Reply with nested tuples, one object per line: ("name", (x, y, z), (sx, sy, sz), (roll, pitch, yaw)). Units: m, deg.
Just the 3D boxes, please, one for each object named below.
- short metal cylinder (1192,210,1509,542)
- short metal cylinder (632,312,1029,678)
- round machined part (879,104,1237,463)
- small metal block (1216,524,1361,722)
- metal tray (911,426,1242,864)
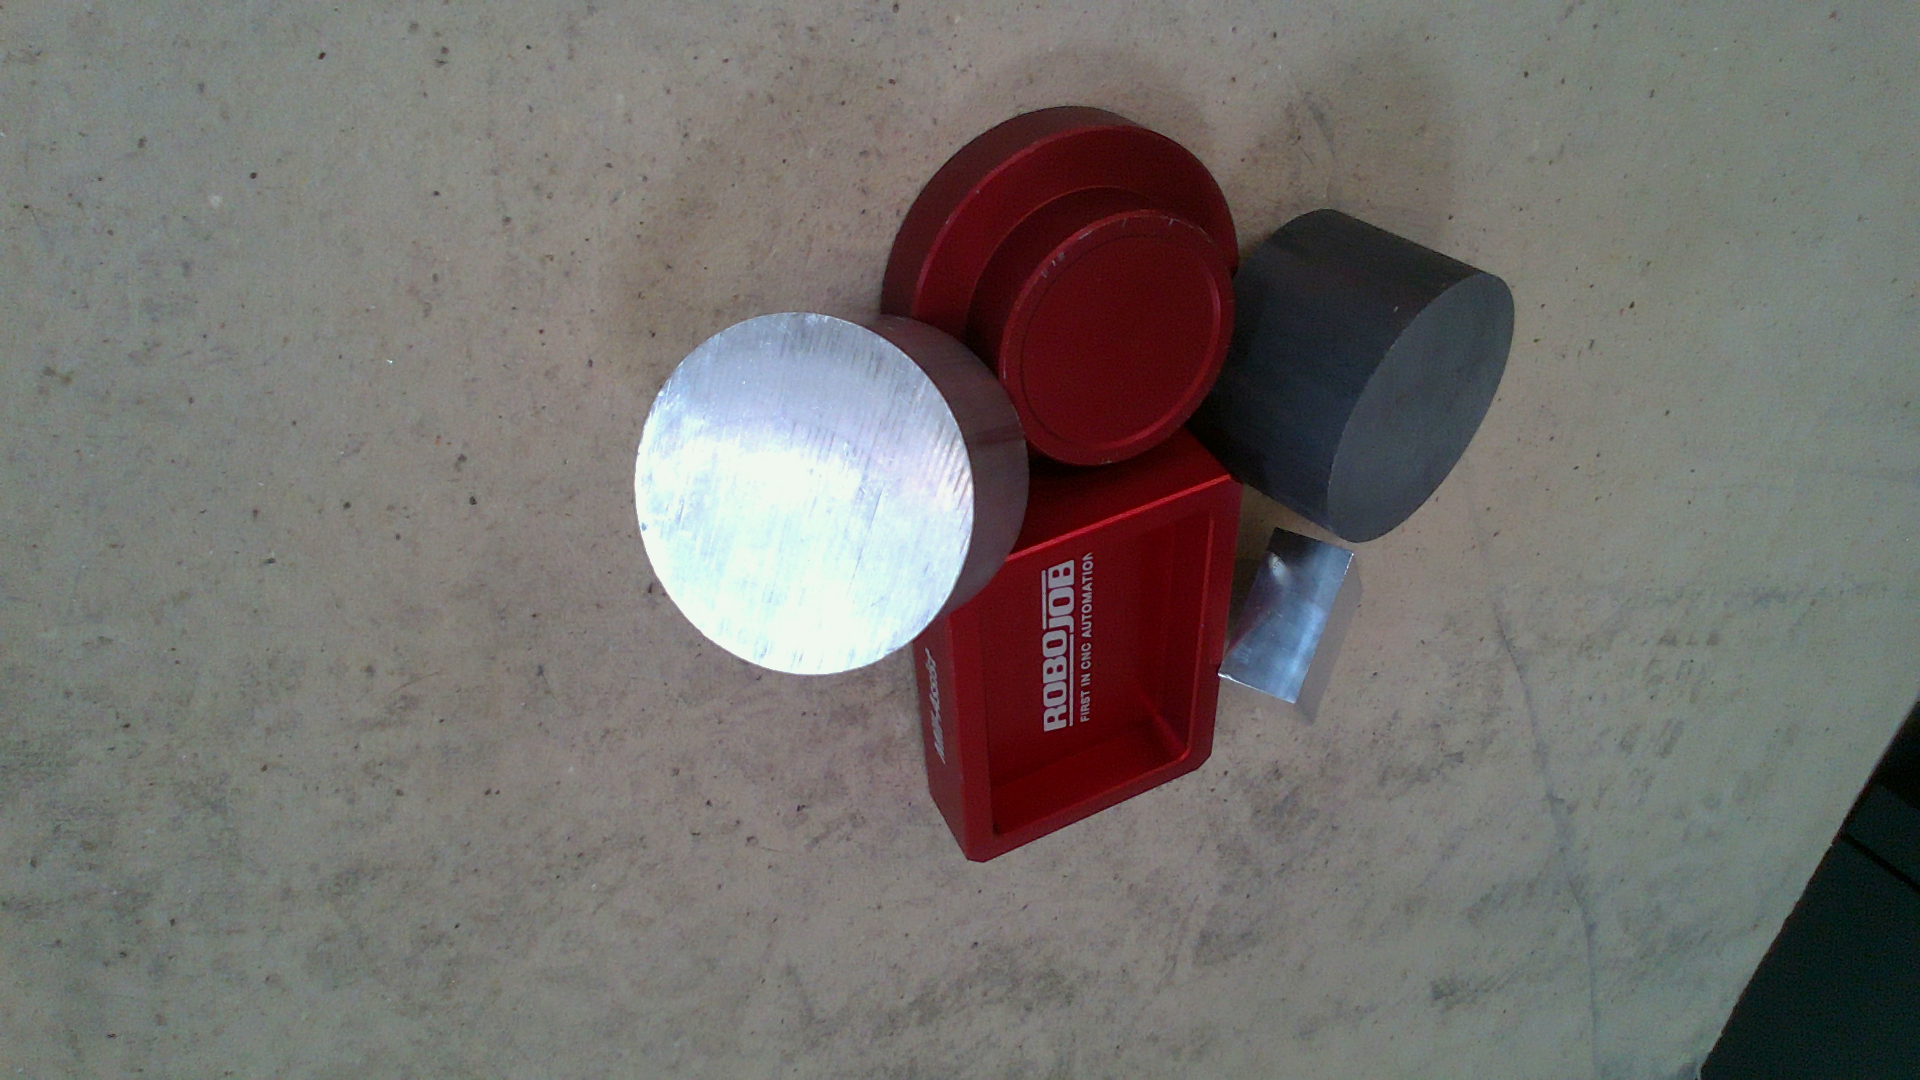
("short metal cylinder", (0.109, -0.047, 0.390), (0.080, 0.050, 0.080), (-29, 138, -30))
("short metal cylinder", (-0.028, -0.013, 0.322), (0.080, 0.080, 0.050), (-61, 170, 16))
("round machined part", (0.032, -0.059, 0.360), (0.098, 0.042, 0.098), (-14, 124, -21))
("small metal block", (0.107, 0.029, 0.442), (0.050, 0.025, 0.050), (-67, 156, -8))
("metal tray", (0.033, 0.033, 0.410), (0.090, 0.030, 0.130), (-20, 136, -16))
